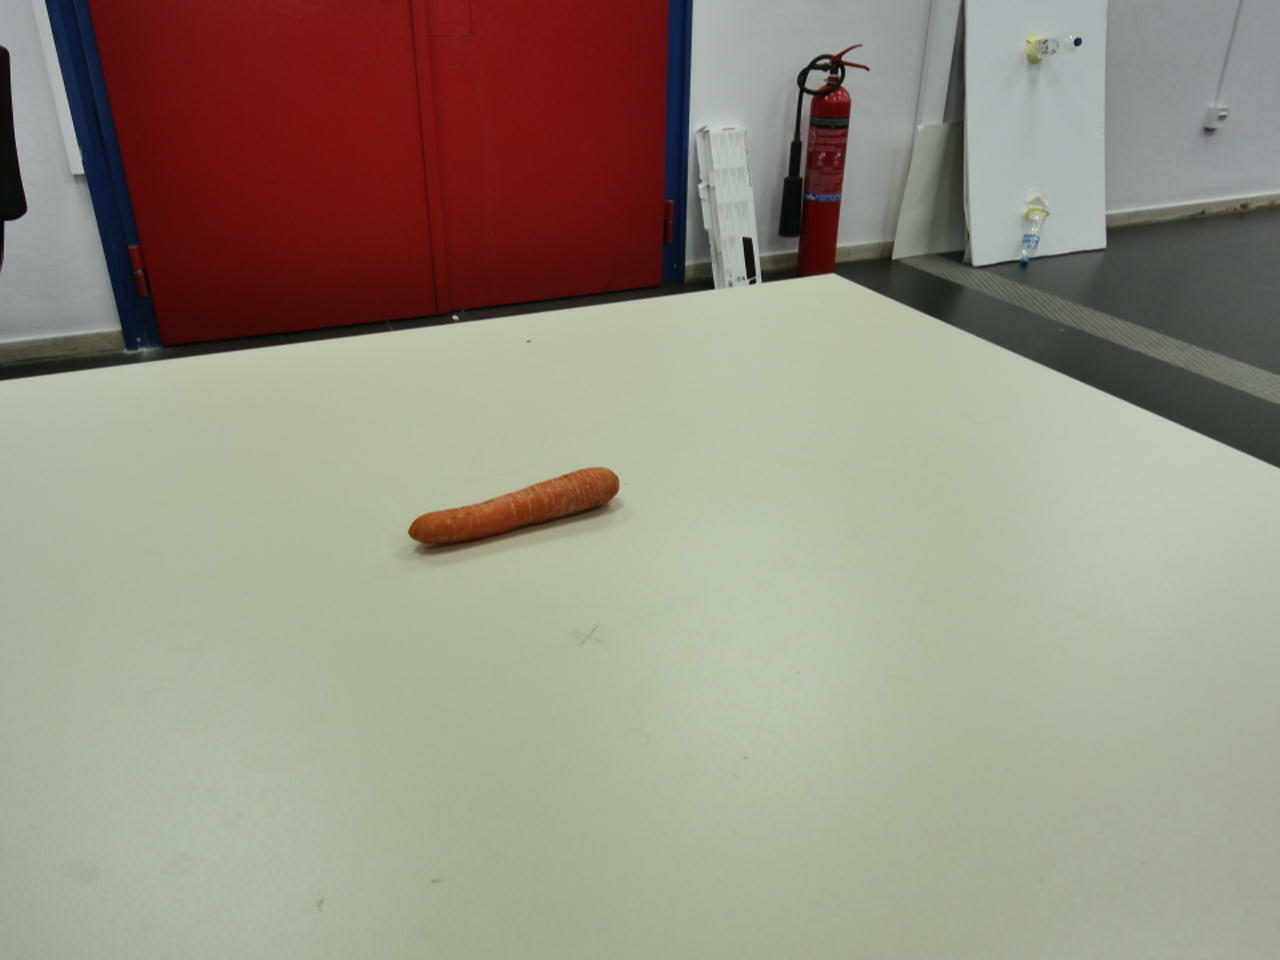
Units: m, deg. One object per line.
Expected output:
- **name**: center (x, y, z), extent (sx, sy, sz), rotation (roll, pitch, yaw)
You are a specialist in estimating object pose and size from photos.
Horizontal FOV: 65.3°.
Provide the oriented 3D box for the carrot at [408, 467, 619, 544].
- **carrot**: center (-0.066, 0.014, 0.549), extent (0.122, 0.023, 0.024), rotation (-13, 29, -25)
